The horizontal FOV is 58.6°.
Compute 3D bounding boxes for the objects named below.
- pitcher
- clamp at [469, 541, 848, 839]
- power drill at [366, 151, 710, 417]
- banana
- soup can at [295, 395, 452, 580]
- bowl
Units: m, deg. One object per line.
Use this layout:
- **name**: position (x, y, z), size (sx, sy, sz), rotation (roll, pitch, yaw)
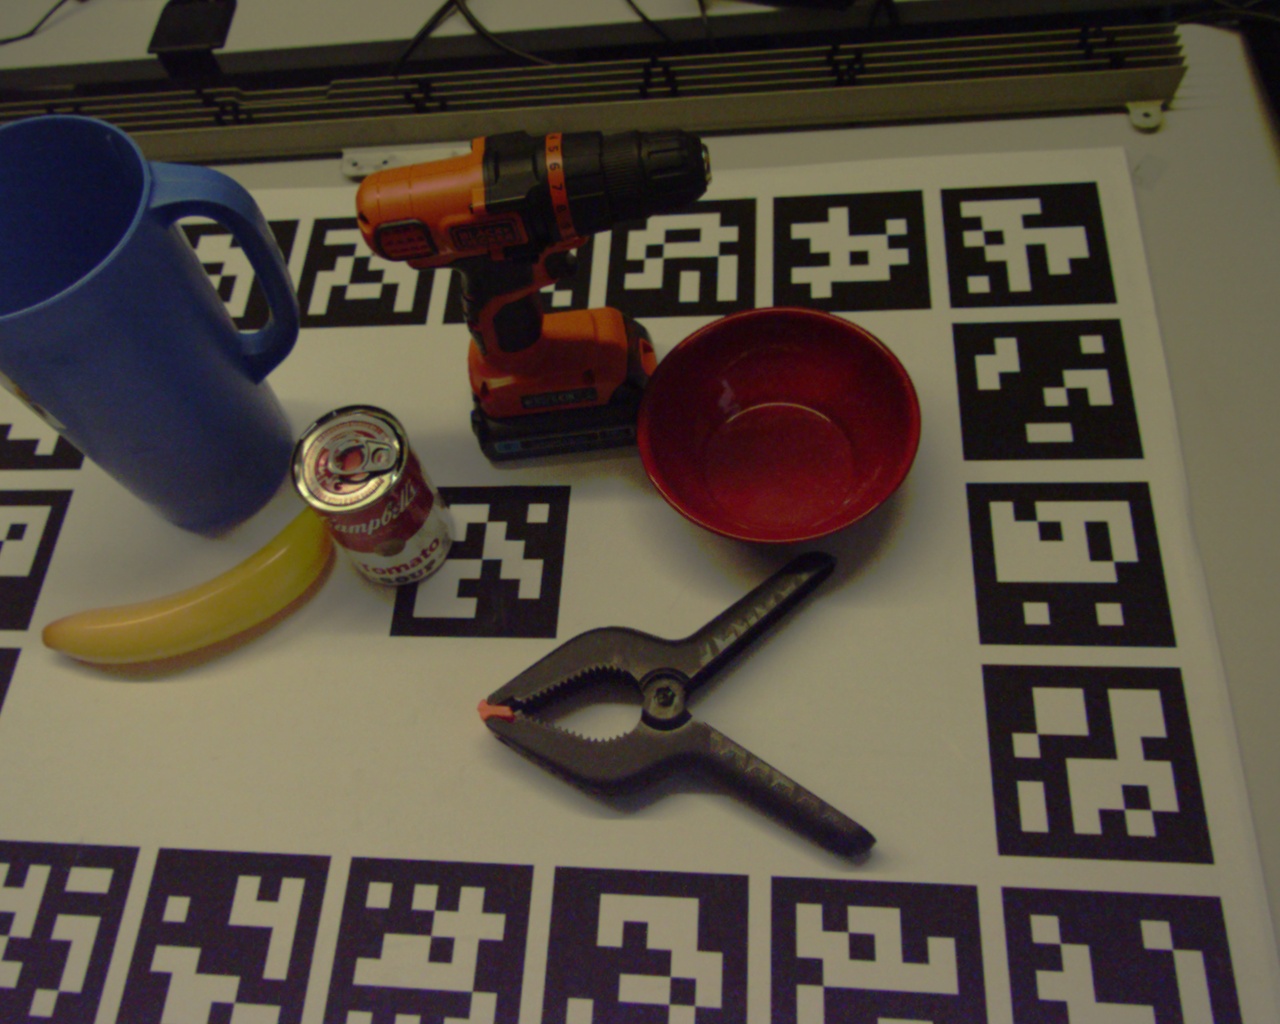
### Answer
- **pitcher**: position (-0.286, -0.097, 0.678), size (0.188, 0.241, 0.134), rotation (-23, 59, -4)
- **clamp**: position (0.006, 0.100, 0.637), size (0.203, 0.036, 0.166), rotation (-4, 66, 7)
- **power drill**: position (-0.047, -0.131, 0.667), size (0.185, 0.186, 0.057), rotation (-6, 63, 5)
- **banana**: position (-0.280, 0.050, 0.719), size (0.197, 0.038, 0.075), rotation (-24, 54, -5)
- **soup can**: position (-0.159, -0.013, 0.694), size (0.068, 0.101, 0.068), rotation (-5, 54, 6)
- **bowl**: position (0.070, -0.044, 0.697), size (0.162, 0.055, 0.162), rotation (-4, 64, 8)
